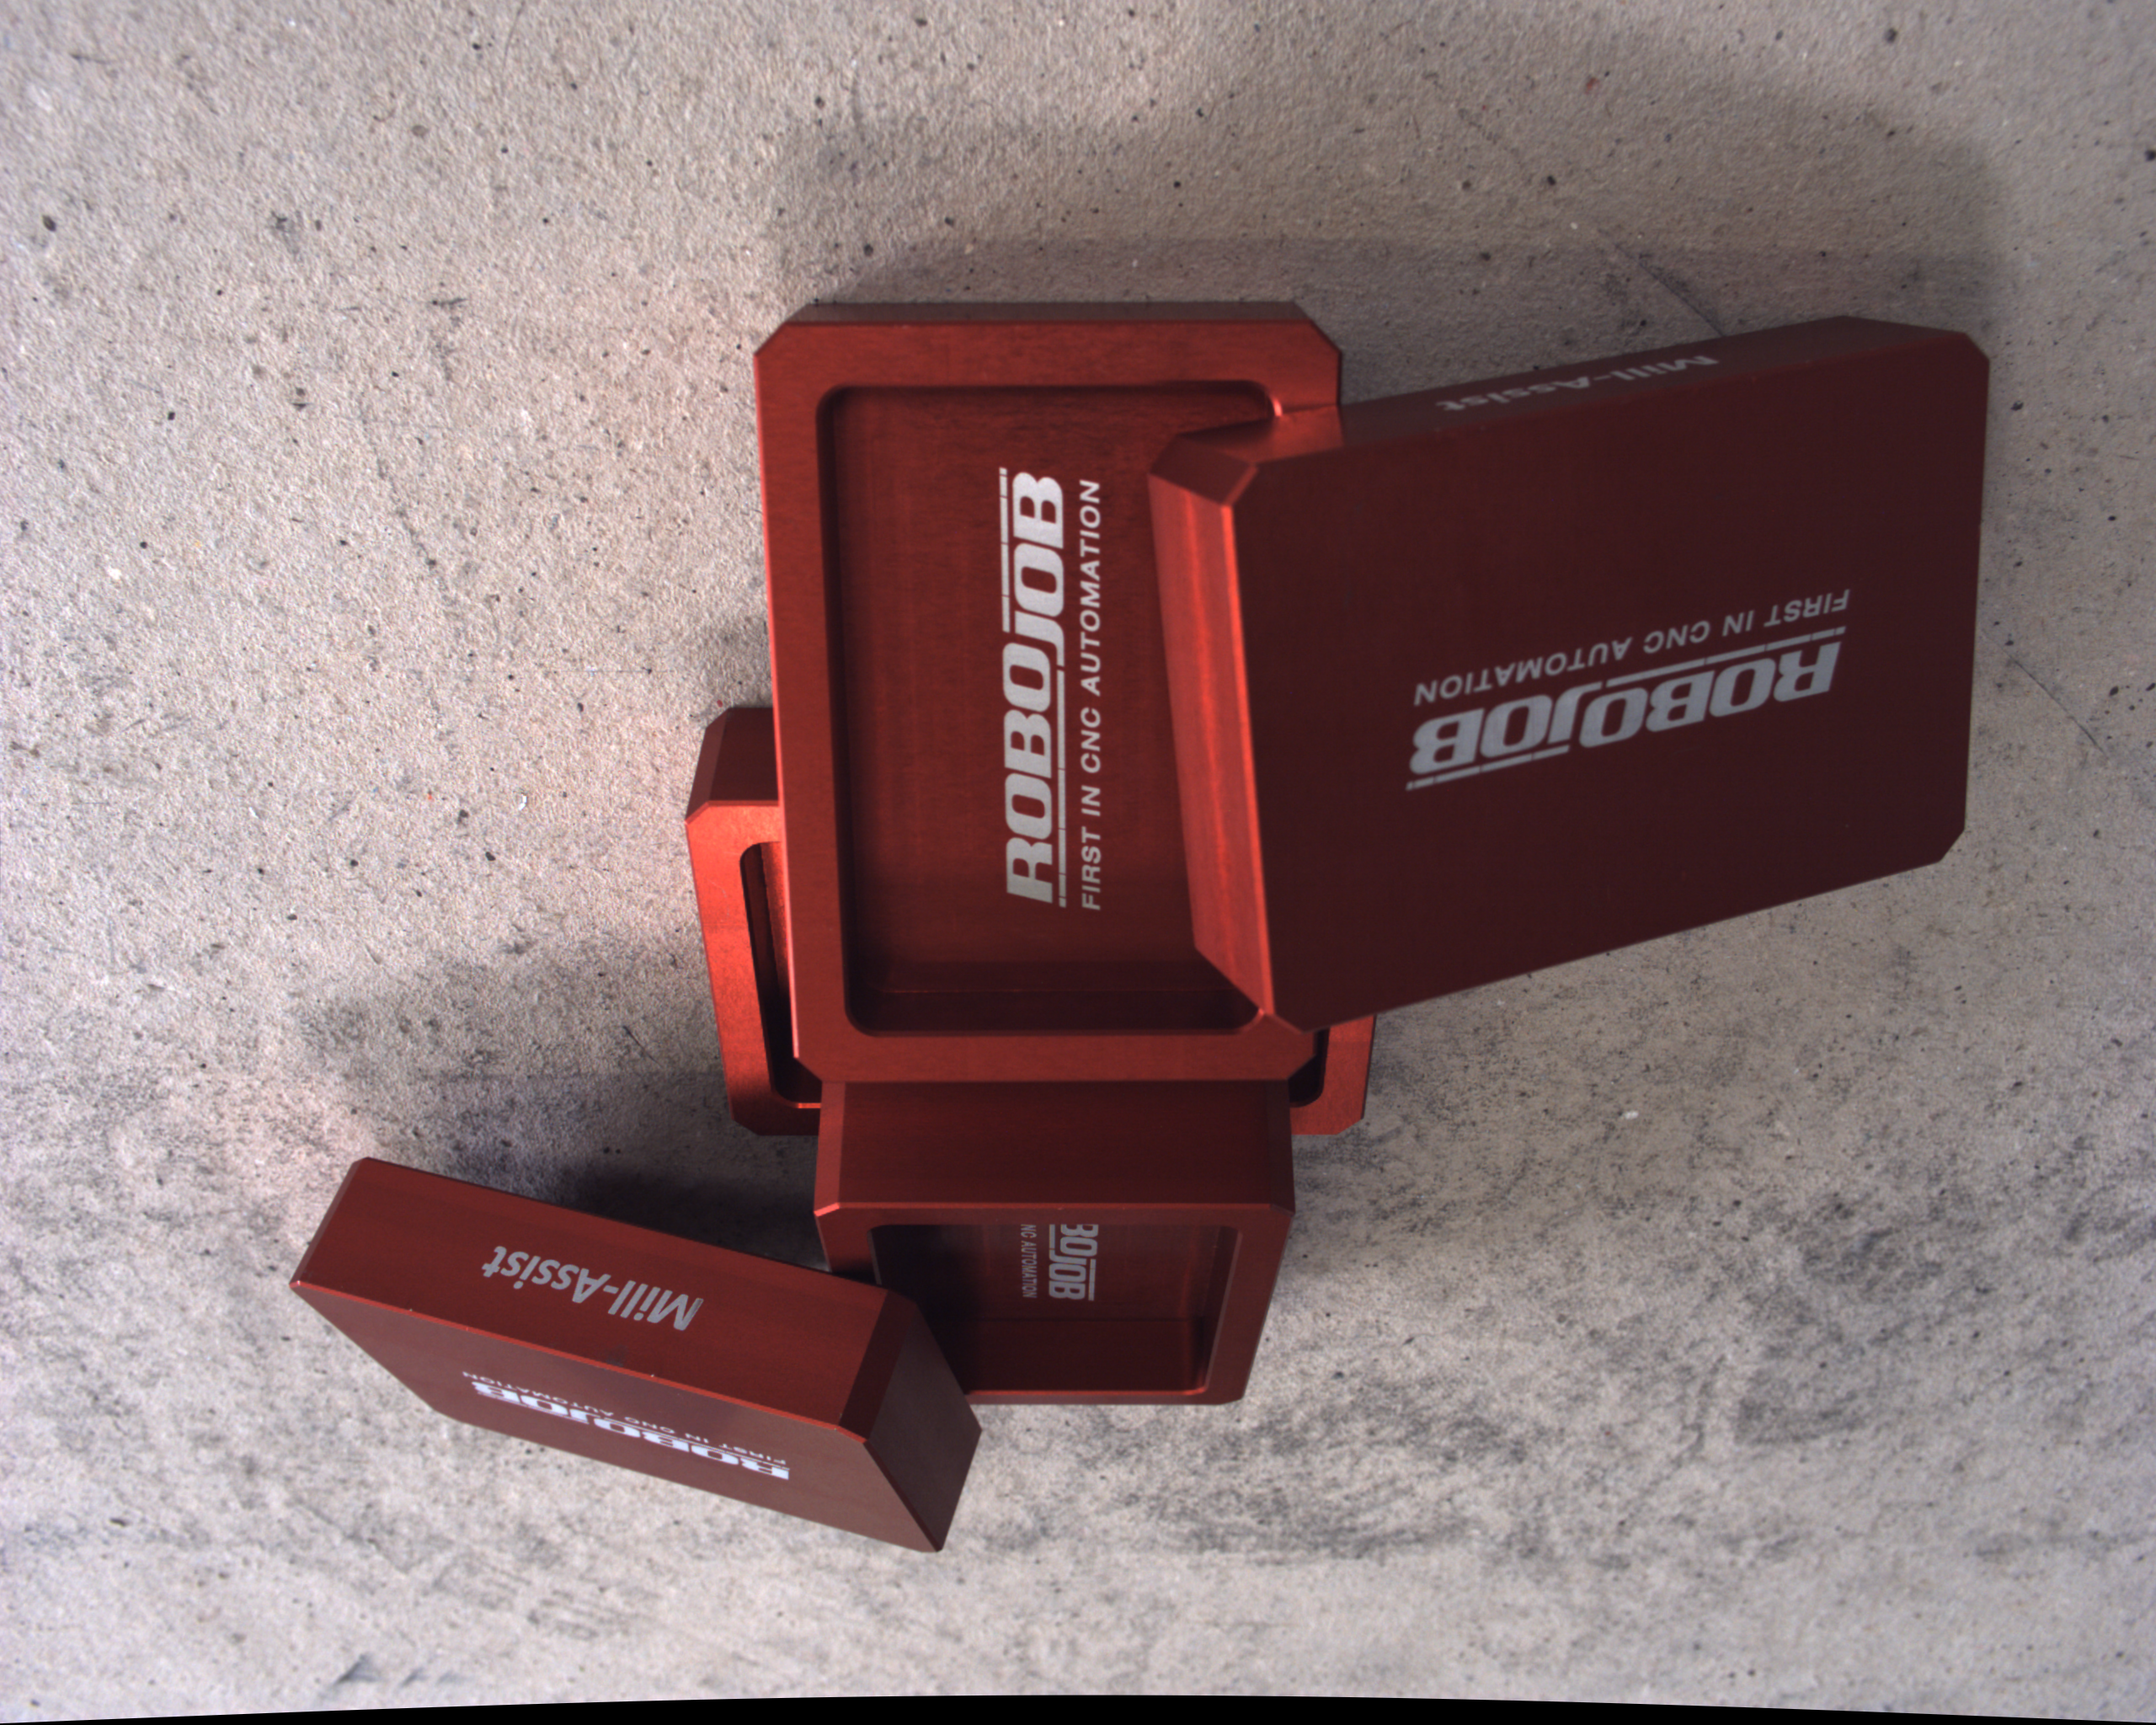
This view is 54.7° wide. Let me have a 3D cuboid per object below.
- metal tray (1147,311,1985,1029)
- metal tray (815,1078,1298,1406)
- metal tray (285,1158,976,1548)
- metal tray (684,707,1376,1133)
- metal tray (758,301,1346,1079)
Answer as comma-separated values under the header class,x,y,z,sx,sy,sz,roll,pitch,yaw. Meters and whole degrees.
class,x,y,z,sx,sy,sz,roll,pitch,yaw
metal tray,0.081,-0.033,0.336,0.131,0.030,0.089,-13,113,-16
metal tray,-0.005,0.084,0.450,0.091,0.030,0.129,1,149,-1
metal tray,-0.094,0.109,0.459,0.130,0.030,0.090,10,149,14
metal tray,-0.006,0.013,0.417,0.131,0.030,0.089,0,131,0
metal tray,-0.004,-0.028,0.355,0.091,0.030,0.129,-1,111,0
